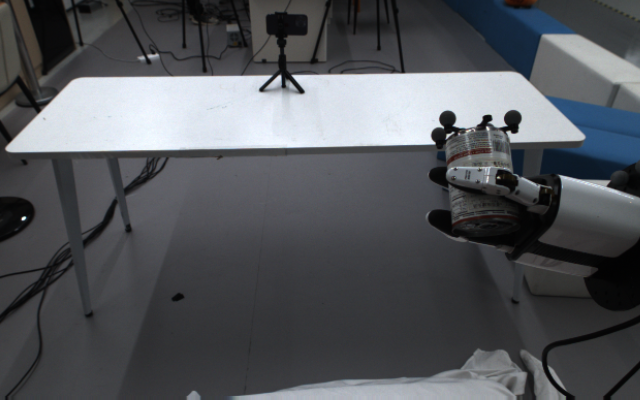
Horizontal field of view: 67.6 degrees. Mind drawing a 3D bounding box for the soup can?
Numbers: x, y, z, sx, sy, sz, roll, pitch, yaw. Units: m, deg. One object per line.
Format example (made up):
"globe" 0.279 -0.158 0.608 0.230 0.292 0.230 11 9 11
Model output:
"soup can" 0.172 -0.018 0.511 0.067 0.067 0.101 1 72 -2
